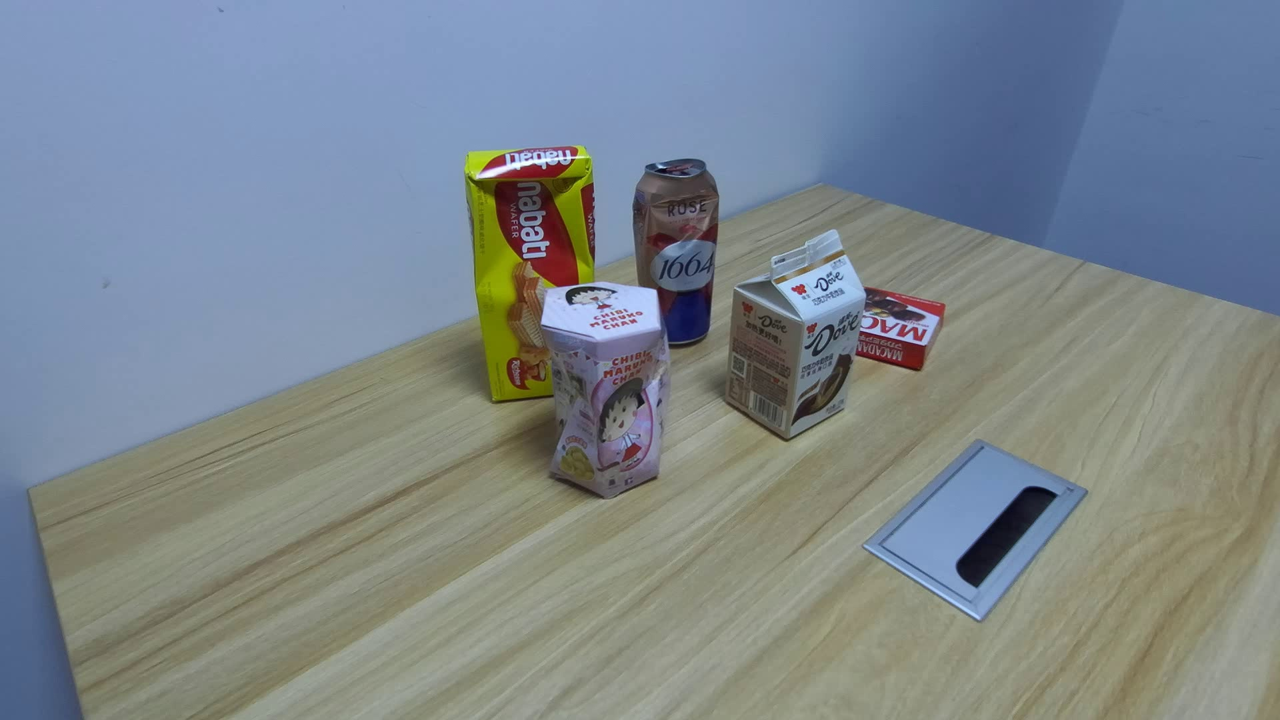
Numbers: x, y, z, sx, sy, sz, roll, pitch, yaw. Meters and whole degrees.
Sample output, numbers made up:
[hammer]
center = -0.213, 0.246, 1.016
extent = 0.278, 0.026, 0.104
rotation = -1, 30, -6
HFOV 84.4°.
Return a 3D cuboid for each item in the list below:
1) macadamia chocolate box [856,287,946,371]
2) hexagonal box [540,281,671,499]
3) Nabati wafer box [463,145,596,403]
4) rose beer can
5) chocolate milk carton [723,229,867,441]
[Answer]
[macadamia chocolate box]
center = 0.196, -0.046, 0.700
extent = 0.186, 0.027, 0.103
rotation = 16, 35, 24
[hexagonal box]
center = -0.028, 0.022, 0.499
extent = 0.093, 0.135, 0.089
rotation = 13, 35, 20
[Nabati wafer box]
center = -0.082, -0.062, 0.569
extent = 0.096, 0.203, 0.042
rotation = -4, 30, -8
[rose beer can]
center = 0.034, -0.098, 0.651
extent = 0.076, 0.167, 0.065
rotation = -8, 32, -5
[chocolate milk carton]
center = 0.121, -0.025, 0.551
extent = 0.076, 0.148, 0.073
rotation = -22, 38, -32
